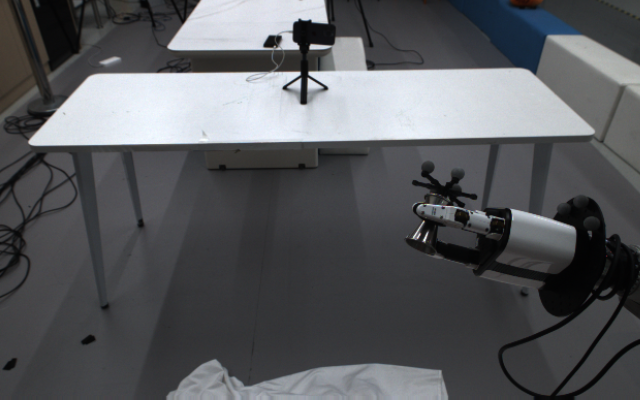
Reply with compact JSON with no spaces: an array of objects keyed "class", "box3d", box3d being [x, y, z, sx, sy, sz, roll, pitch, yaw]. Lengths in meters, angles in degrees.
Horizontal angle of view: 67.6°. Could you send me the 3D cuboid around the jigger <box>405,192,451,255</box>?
[{"class":"jigger","box3d":[0.142,0.028,0.626,0.043,0.043,0.071,19,72,23]}]
